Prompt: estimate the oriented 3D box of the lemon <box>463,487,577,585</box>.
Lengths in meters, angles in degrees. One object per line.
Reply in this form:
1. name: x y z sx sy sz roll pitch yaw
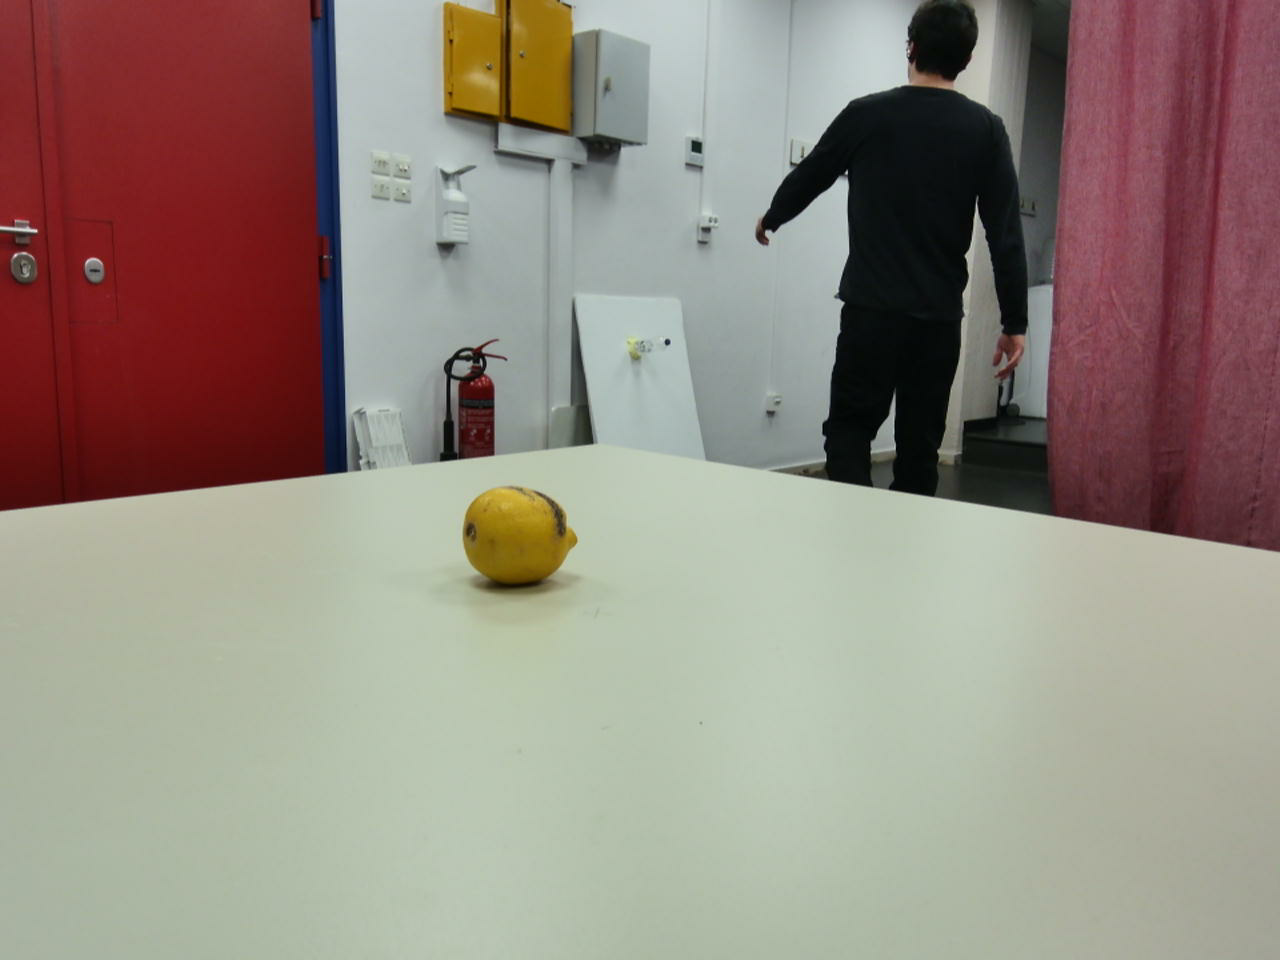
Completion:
1. lemon: -0.072 0.032 0.577 0.058 0.056 0.061 6 10 34
